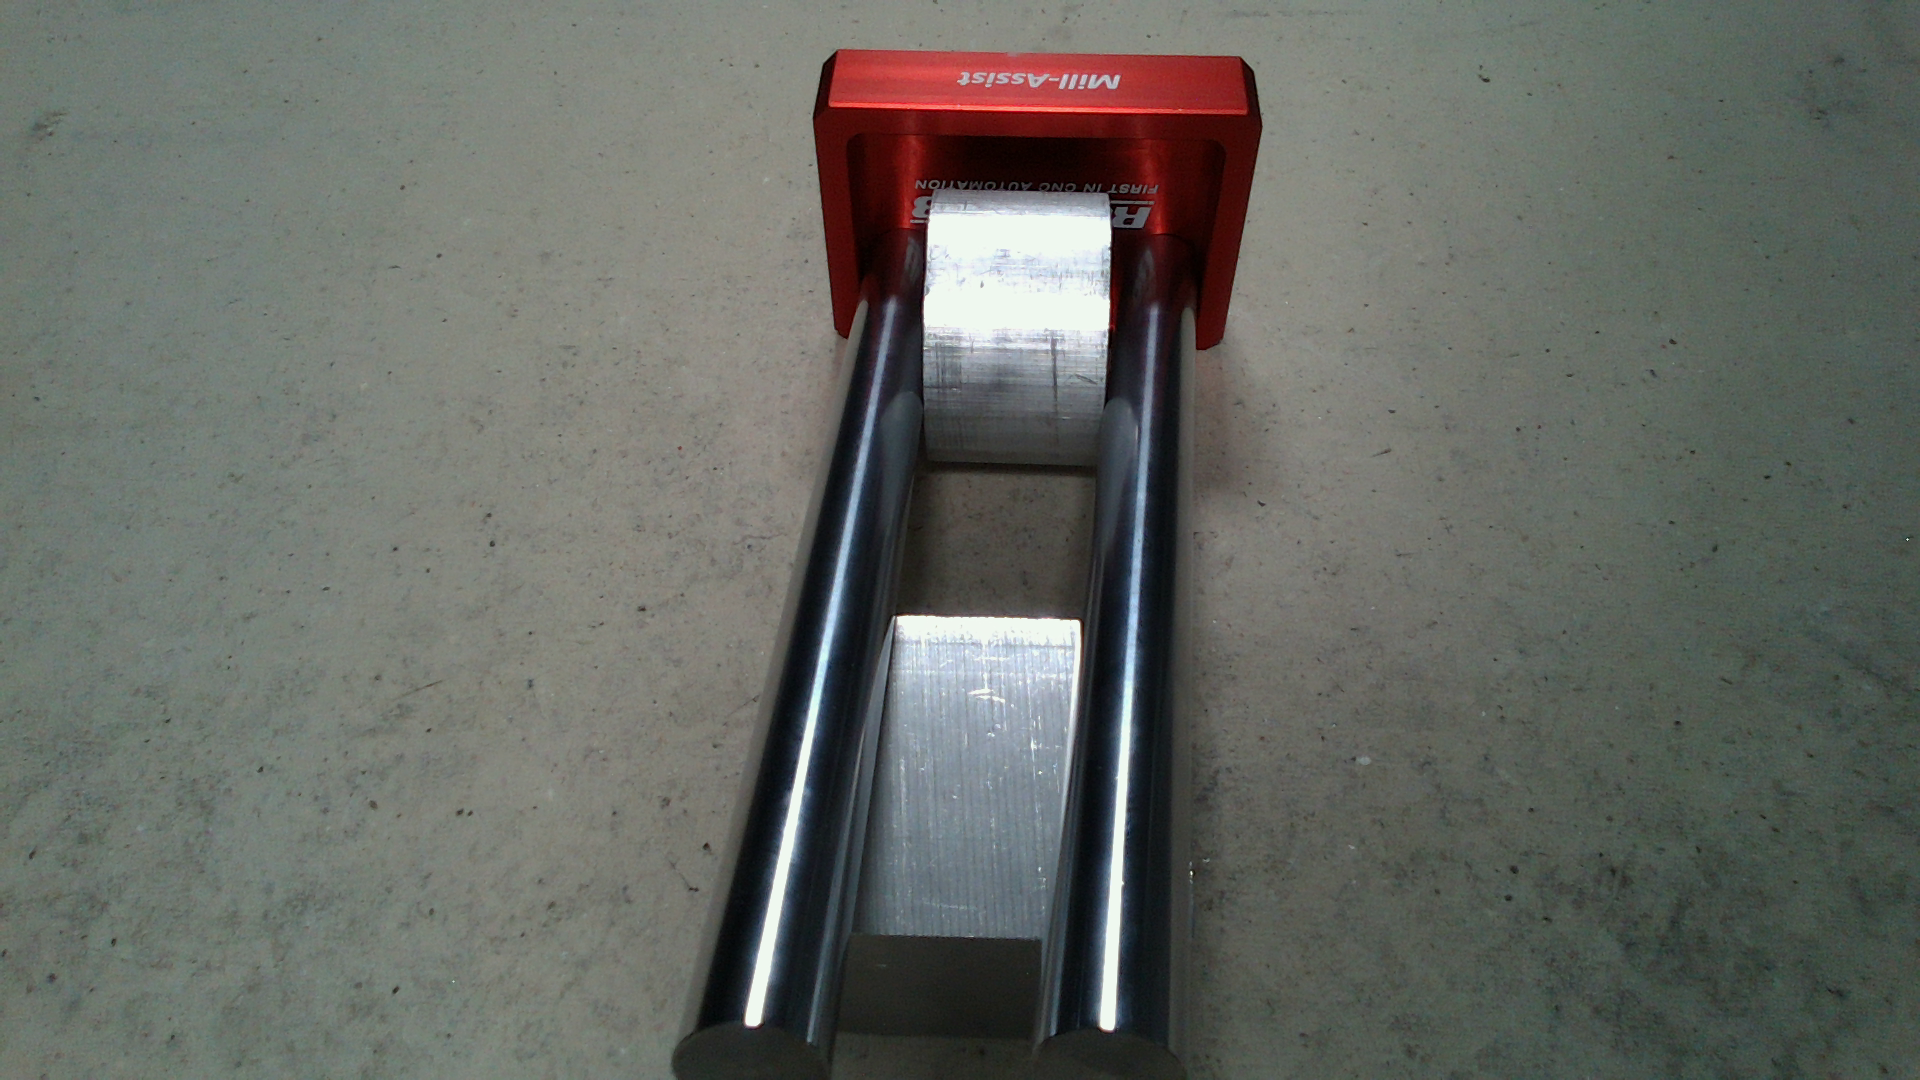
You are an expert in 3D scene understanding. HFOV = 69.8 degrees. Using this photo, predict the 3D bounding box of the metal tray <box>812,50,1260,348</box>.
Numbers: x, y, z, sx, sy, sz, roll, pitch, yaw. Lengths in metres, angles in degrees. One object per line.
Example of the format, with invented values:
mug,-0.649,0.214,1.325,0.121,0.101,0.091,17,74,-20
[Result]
metal tray,0.023,-0.106,0.438,0.130,0.090,0.030,2,50,1

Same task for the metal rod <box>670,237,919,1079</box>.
metal rod,-0.027,-0.004,0.335,0.025,0.025,0.300,1,35,2

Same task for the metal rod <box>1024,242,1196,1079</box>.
metal rod,0.044,-0.002,0.332,0.025,0.025,0.300,6,35,6

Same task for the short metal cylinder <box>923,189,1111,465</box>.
short metal cylinder,0.016,-0.063,0.409,0.050,0.080,0.080,2,50,1

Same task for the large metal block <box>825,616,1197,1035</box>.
large metal block,0.009,0.065,0.318,0.080,0.050,0.080,1,50,1
